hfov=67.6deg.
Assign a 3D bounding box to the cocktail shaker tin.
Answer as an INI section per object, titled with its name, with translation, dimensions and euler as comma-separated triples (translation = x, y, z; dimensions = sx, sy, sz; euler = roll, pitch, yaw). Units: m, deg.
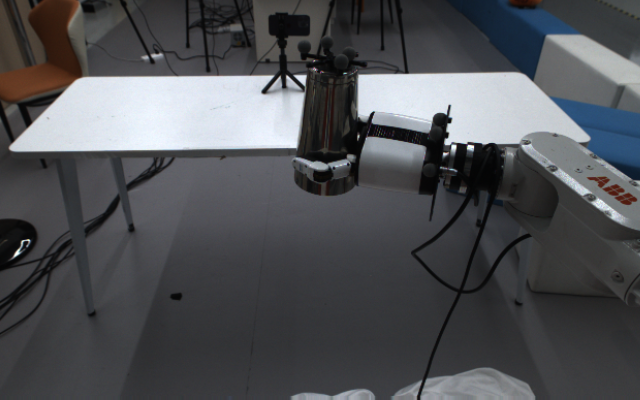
[cocktail shaker tin]
translation = 0.013, -0.103, 0.668
dimensions = 0.093, 0.170, 0.093
euler = 3, 34, -2
